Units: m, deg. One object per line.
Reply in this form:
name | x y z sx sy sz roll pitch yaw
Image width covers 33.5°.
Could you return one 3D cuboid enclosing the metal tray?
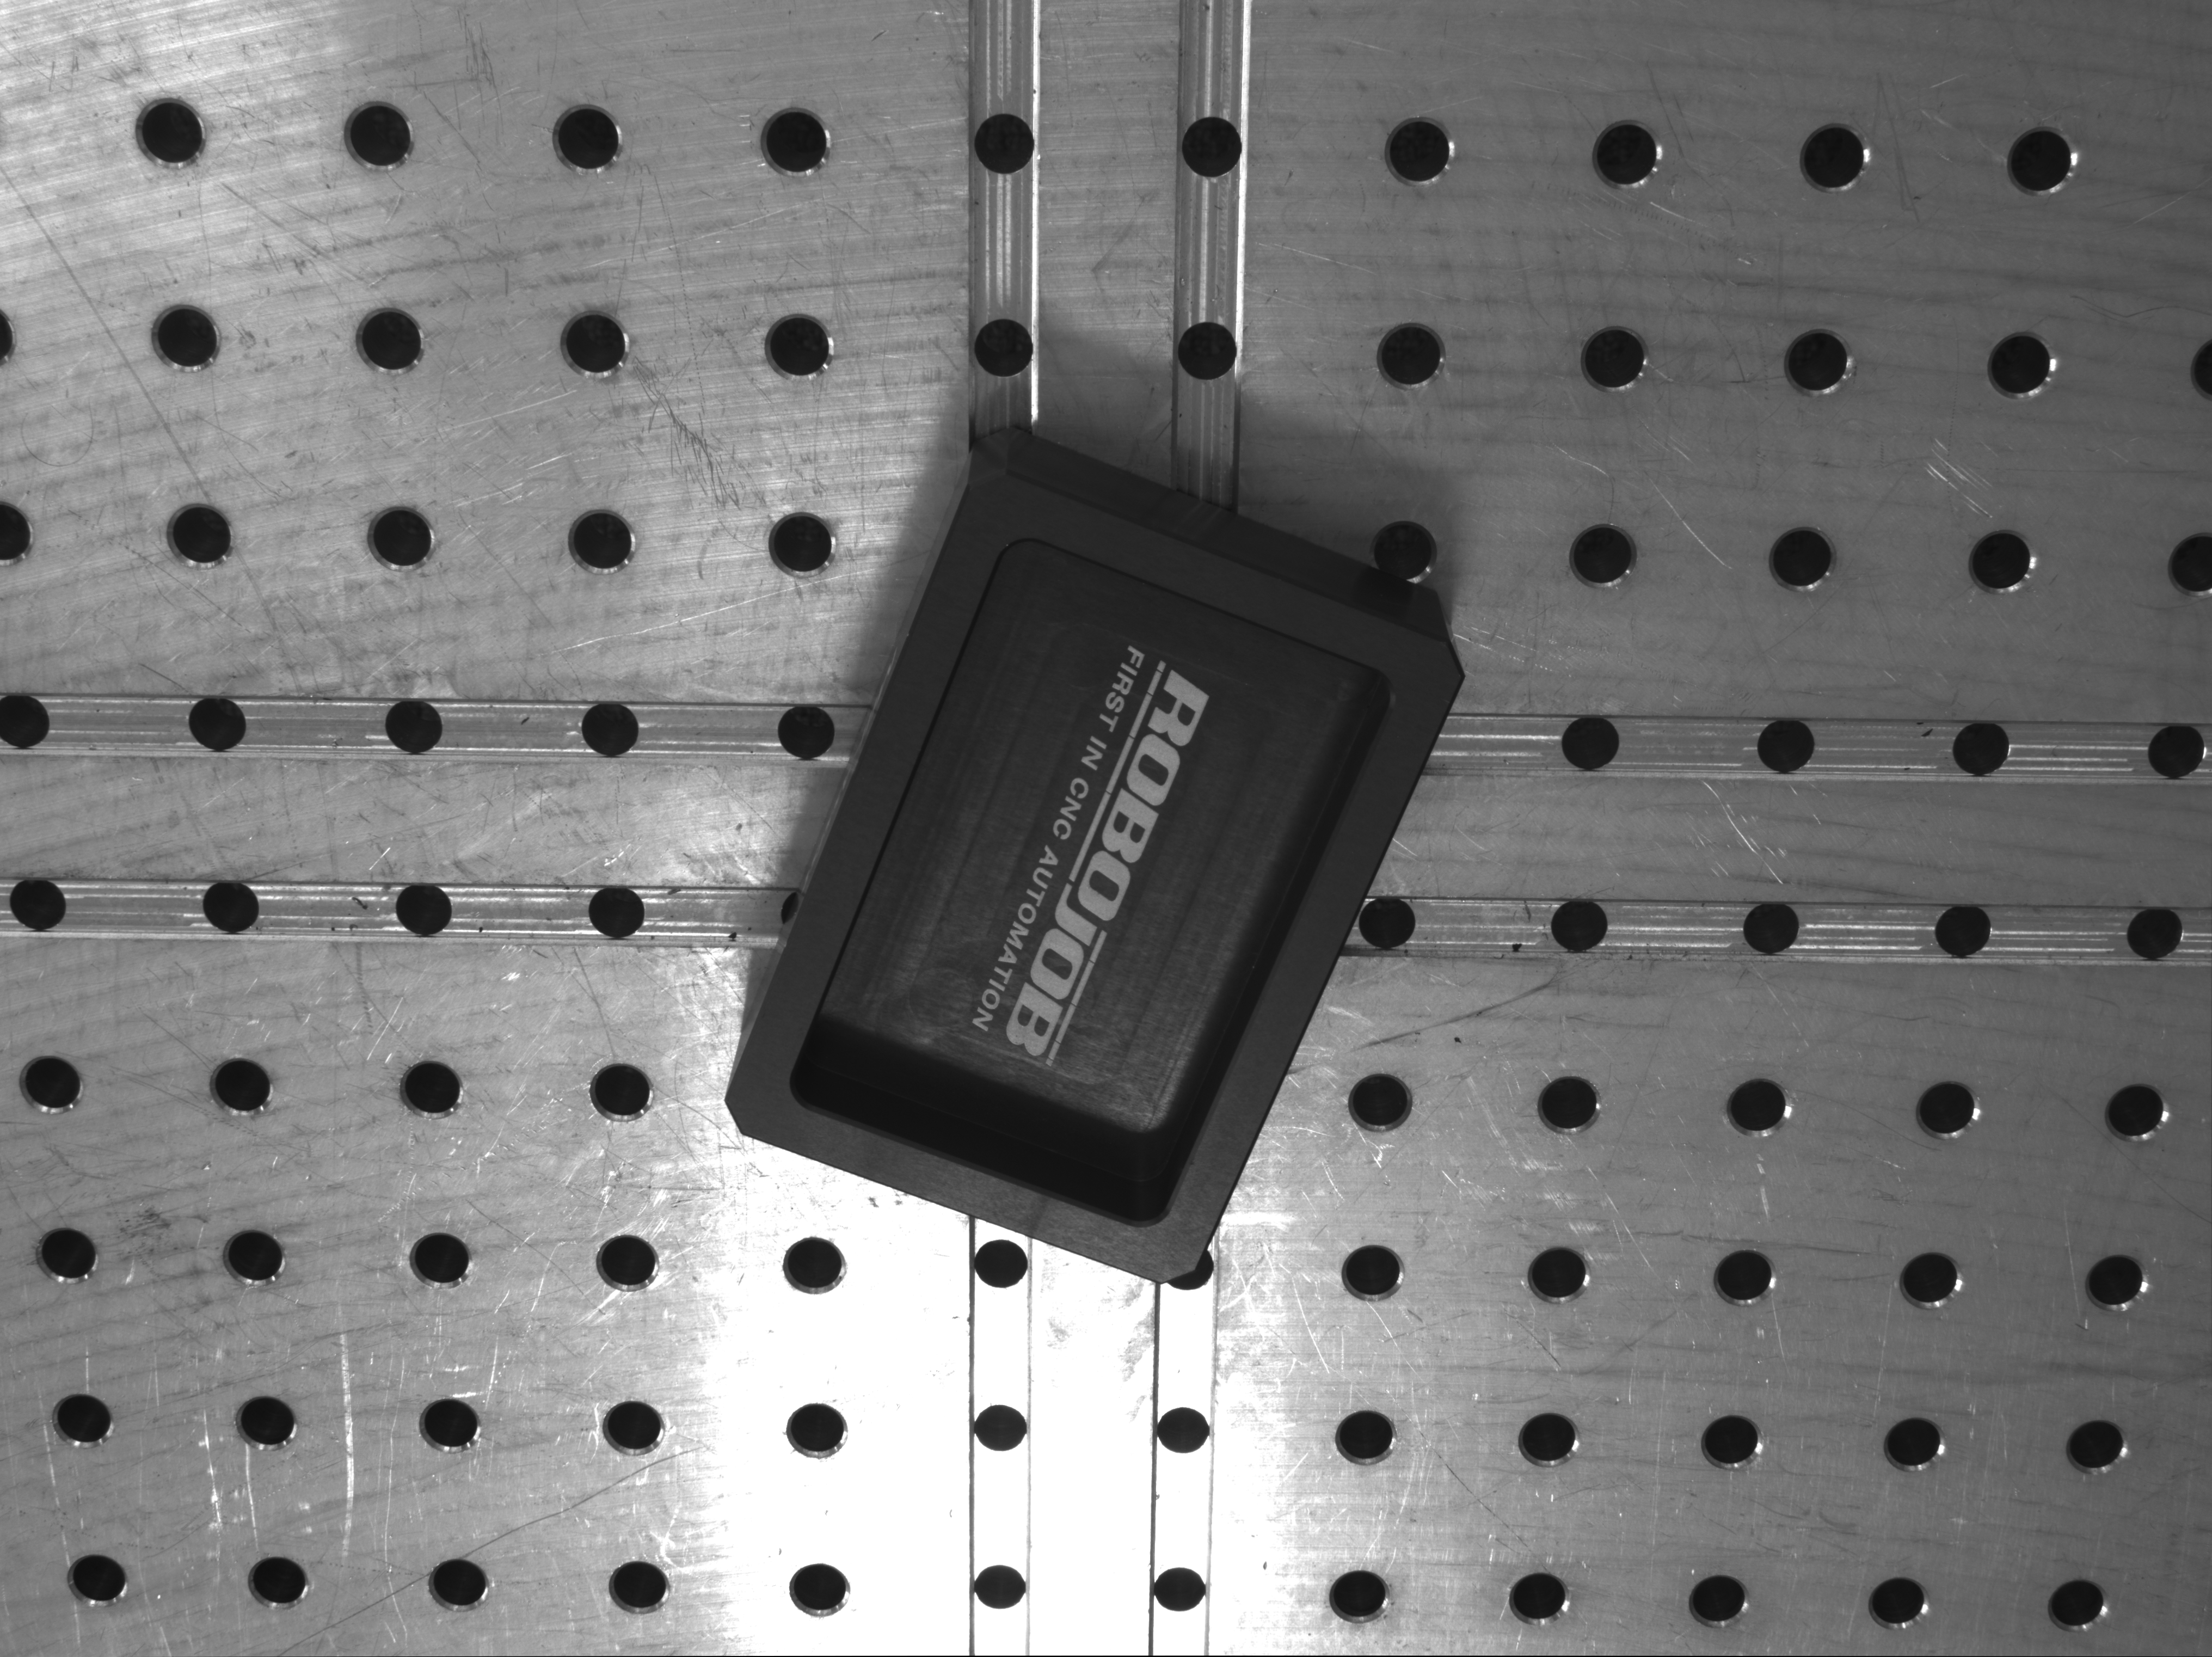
metal tray | -0.003 0.007 0.646 0.090 0.030 0.130 20 109 -8
